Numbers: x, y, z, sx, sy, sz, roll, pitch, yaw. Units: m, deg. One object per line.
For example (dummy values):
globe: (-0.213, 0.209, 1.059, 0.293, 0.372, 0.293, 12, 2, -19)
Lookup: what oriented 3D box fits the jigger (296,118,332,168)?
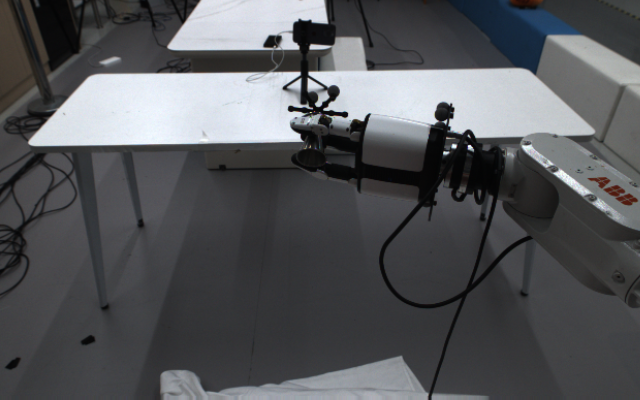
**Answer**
jigger: (-0.011, -0.088, 0.690, 0.043, 0.043, 0.071, 5, 60, 4)
